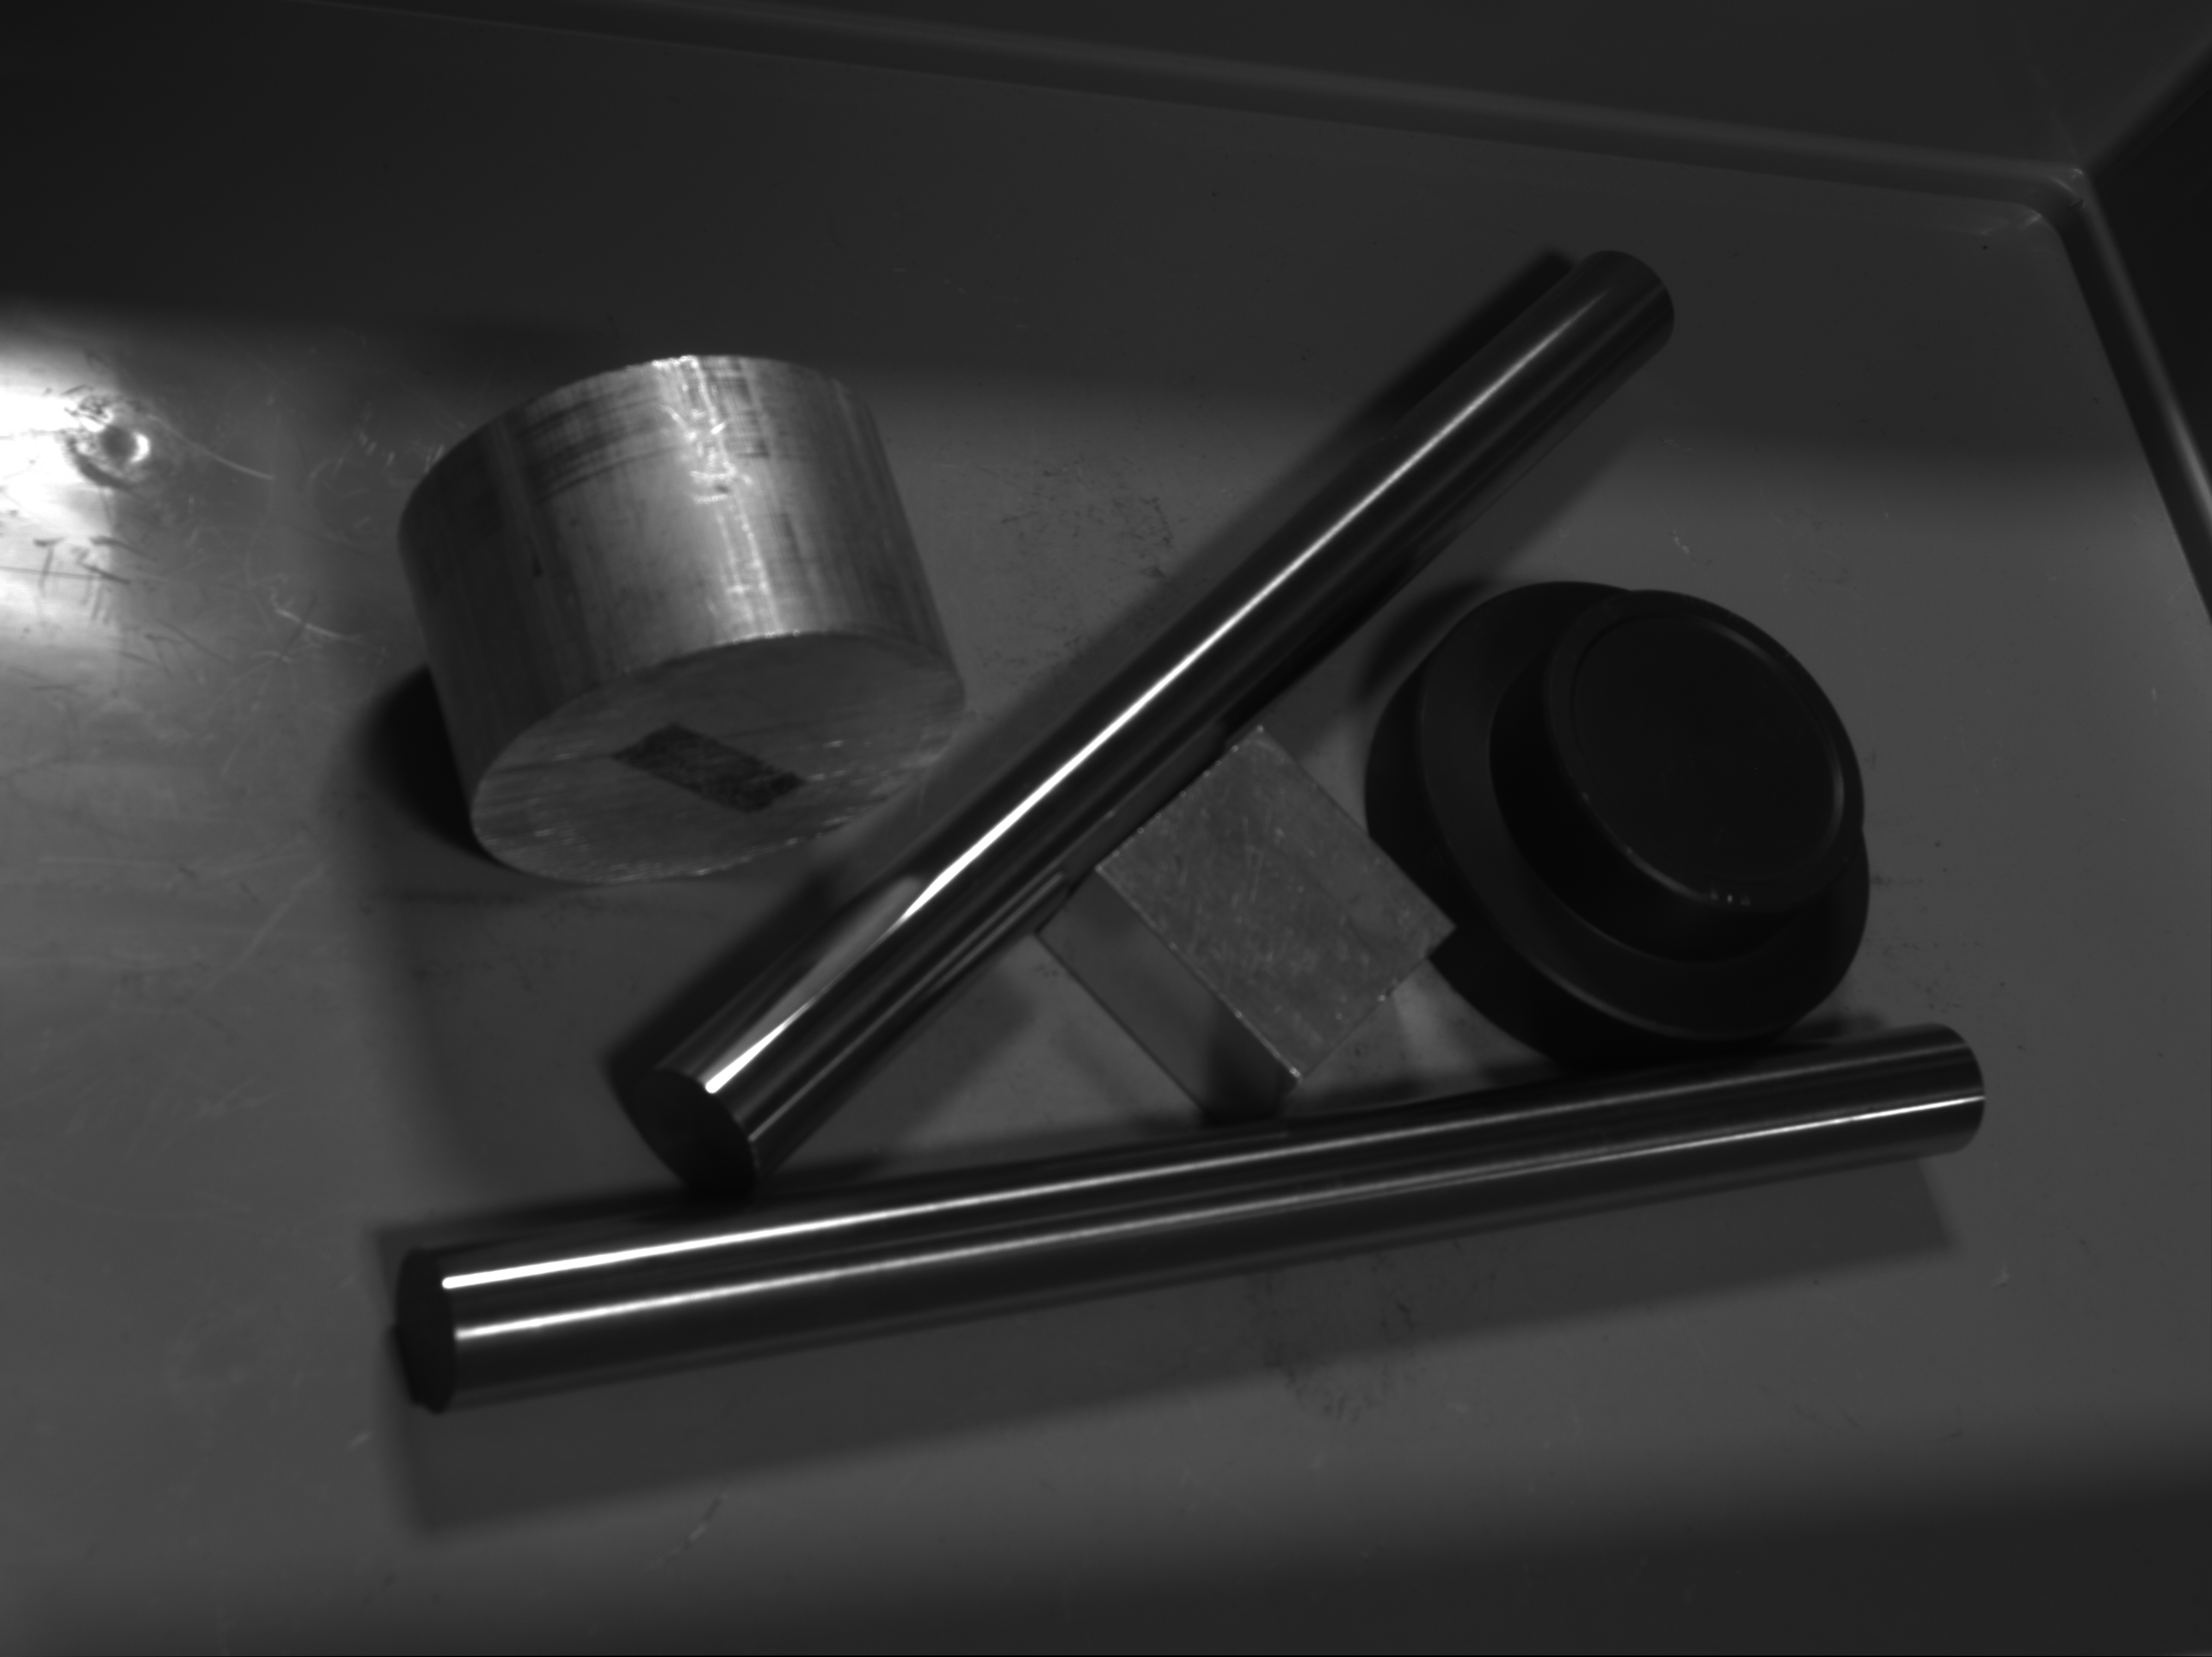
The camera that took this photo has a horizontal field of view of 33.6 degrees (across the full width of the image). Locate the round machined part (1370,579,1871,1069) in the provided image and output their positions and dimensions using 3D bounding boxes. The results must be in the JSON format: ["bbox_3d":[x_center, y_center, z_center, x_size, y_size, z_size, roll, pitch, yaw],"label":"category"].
[{"bbox_3d":[0.102,-0.005,0.684,0.098,0.042,0.098,14,56,-21],"label":"round machined part"}]

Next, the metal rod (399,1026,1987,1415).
[{"bbox_3d":[0.029,0.062,0.616,0.301,0.025,0.025,-5,64,-31],"label":"metal rod"}]

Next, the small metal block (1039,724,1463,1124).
[{"bbox_3d":[0.026,0.018,0.640,0.050,0.025,0.050,46,51,4],"label":"small metal block"}]

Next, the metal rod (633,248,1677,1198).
[{"bbox_3d":[0.022,-0.031,0.669,0.025,0.025,0.300,45,51,3],"label":"metal rod"}]

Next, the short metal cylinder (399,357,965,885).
[{"bbox_3d":[-0.068,-0.032,0.587,0.080,0.080,0.050,-5,64,-30],"label":"short metal cylinder"}]
